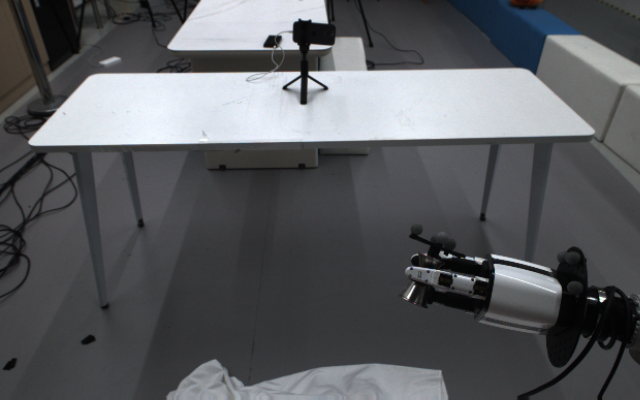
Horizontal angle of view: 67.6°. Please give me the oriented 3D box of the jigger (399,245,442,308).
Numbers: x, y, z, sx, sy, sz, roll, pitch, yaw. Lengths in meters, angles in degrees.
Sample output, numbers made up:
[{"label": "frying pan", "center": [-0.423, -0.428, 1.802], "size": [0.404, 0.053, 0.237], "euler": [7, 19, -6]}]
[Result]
[{"label": "jigger", "center": [0.141, 0.109, 0.674], "size": [0.043, 0.071, 0.043], "euler": [24, -3, 1]}]
